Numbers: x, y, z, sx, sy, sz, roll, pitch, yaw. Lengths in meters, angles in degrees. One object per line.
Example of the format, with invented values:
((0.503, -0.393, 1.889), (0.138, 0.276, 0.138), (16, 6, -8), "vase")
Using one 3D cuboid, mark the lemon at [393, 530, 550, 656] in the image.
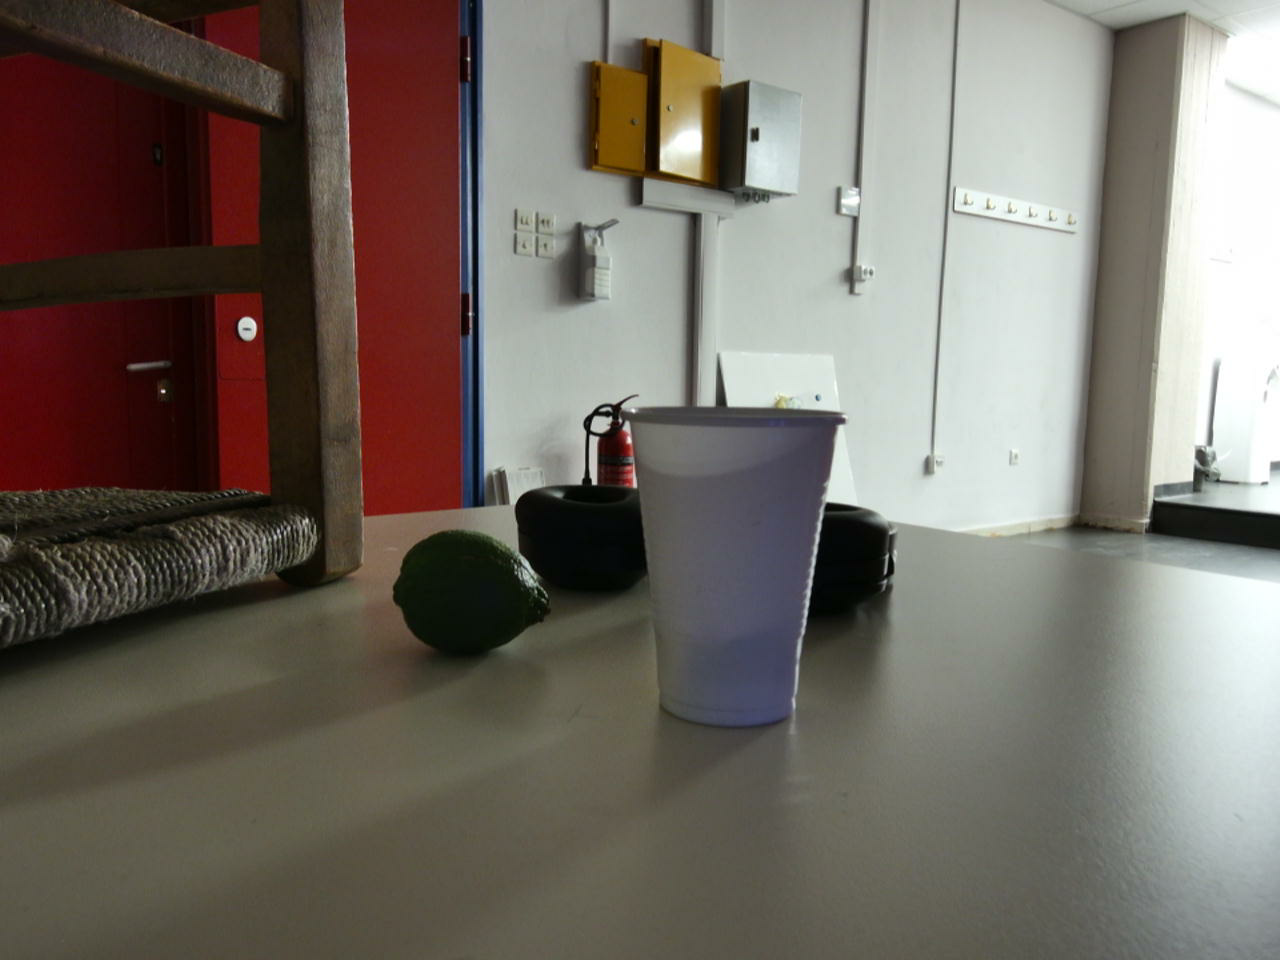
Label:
((-0.073, 0.046, 0.416), (0.057, 0.051, 0.054), (-3, 5, -42), "lemon")
